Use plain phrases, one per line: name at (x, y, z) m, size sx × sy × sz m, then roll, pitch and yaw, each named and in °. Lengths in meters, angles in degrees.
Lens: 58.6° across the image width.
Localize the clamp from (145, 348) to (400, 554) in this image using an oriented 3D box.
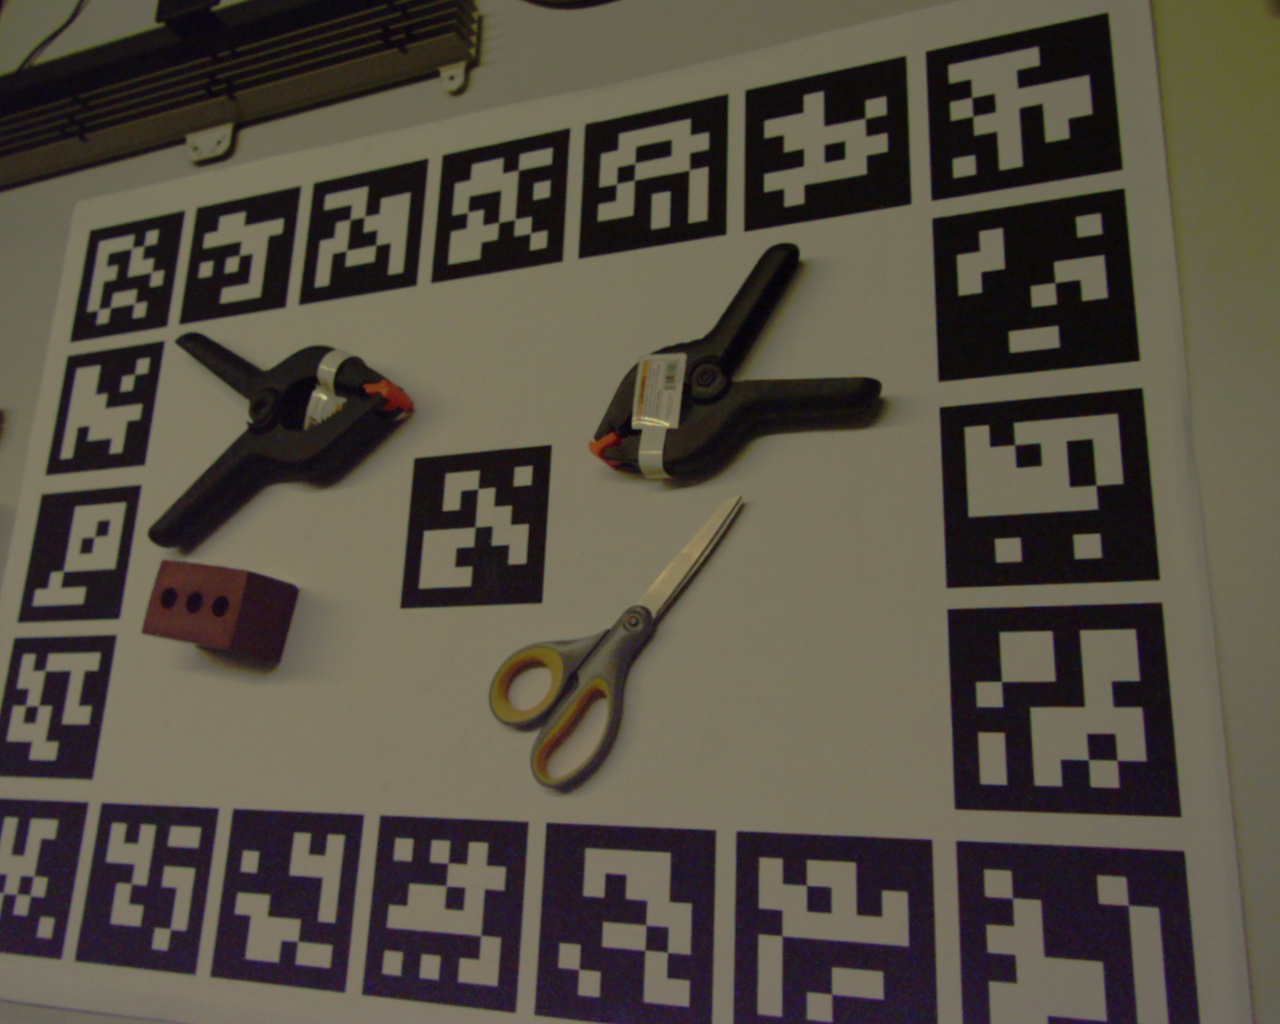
clamp at (-0.269, -0.059, 0.832) m, size 0.204 × 0.036 × 0.166 m, roll -8°, pitch 70°, yaw 20°

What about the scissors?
scissors at (-0.026, 0.075, 0.699) m, size 0.088 × 0.016 × 0.203 m, roll 39°, pitch 92°, yaw 19°

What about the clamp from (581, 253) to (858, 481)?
clamp at (0.035, -0.071, 0.708) m, size 0.166 × 0.036 × 0.122 m, roll -32°, pitch 73°, yaw 13°

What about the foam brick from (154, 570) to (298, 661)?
foam brick at (-0.291, 0.073, 0.801) m, size 0.079 × 0.051 × 0.053 m, roll 3°, pitch 79°, yaw 28°
